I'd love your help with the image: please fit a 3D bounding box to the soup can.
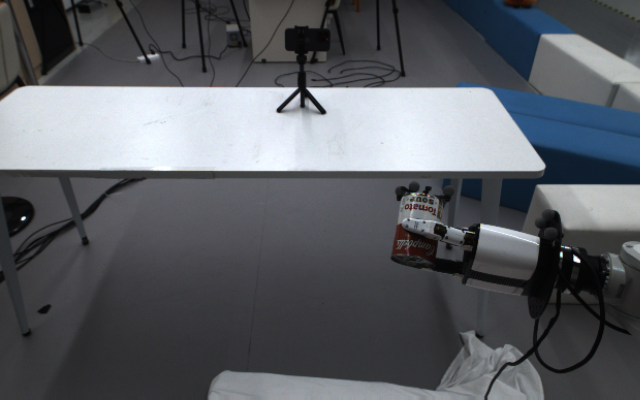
[{"bbox_3d":[0.152,0.045,0.746,0.067,0.067,0.101,9,72,10],"label":"soup can"}]
